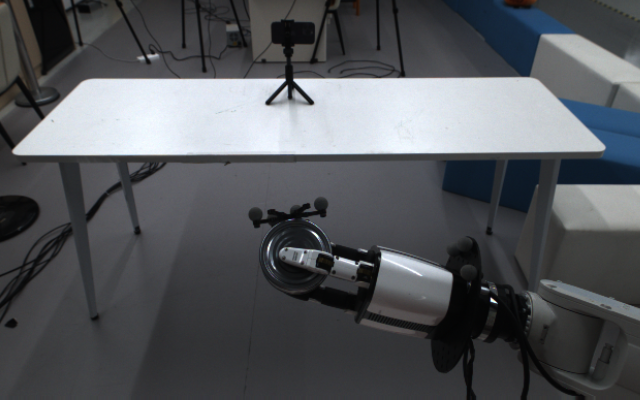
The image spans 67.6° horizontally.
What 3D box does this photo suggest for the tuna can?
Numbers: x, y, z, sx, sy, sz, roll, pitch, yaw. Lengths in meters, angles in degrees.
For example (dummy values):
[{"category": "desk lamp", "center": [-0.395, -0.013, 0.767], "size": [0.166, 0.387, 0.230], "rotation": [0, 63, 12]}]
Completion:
[{"category": "tuna can", "center": [-0.023, 0.072, 0.564], "size": [0.085, 0.034, 0.085], "rotation": [0, 72, -1]}]
